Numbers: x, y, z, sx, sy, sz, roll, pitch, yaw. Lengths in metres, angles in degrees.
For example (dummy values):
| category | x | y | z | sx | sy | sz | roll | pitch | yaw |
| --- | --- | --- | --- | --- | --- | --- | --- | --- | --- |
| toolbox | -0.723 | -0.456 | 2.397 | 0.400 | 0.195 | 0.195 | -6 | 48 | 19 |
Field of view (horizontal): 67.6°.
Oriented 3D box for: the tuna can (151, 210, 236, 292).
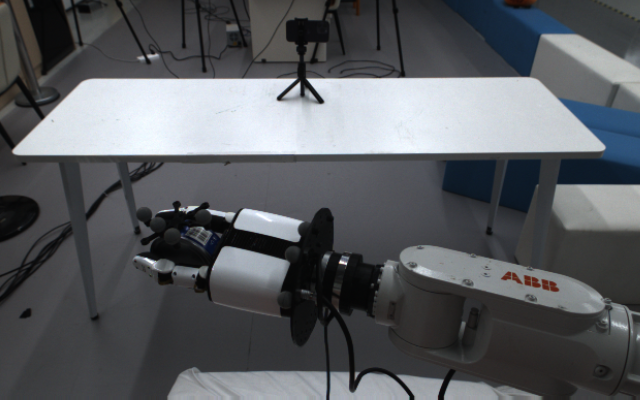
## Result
| category | x | y | z | sx | sy | sz | roll | pitch | yaw |
| --- | --- | --- | --- | --- | --- | --- | --- | --- | --- |
| tuna can | -0.154 | 0.067 | 0.581 | 0.085 | 0.085 | 0.034 | 11 | 38 | 12 |
